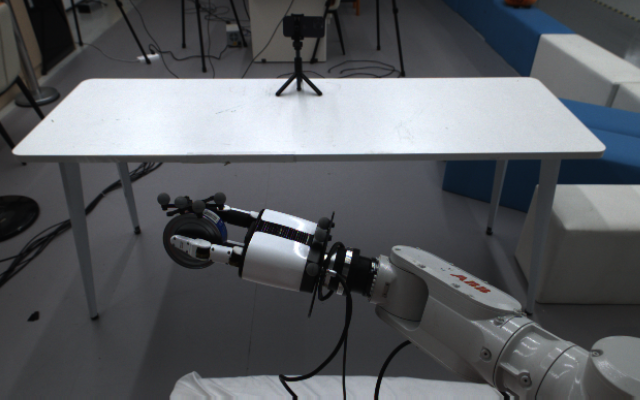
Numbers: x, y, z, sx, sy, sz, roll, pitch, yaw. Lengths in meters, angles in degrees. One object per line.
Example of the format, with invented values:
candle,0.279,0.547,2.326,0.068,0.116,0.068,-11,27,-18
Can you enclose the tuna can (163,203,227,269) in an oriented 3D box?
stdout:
tuna can,-0.172,0.056,0.693,0.085,0.085,0.034,4,17,2
